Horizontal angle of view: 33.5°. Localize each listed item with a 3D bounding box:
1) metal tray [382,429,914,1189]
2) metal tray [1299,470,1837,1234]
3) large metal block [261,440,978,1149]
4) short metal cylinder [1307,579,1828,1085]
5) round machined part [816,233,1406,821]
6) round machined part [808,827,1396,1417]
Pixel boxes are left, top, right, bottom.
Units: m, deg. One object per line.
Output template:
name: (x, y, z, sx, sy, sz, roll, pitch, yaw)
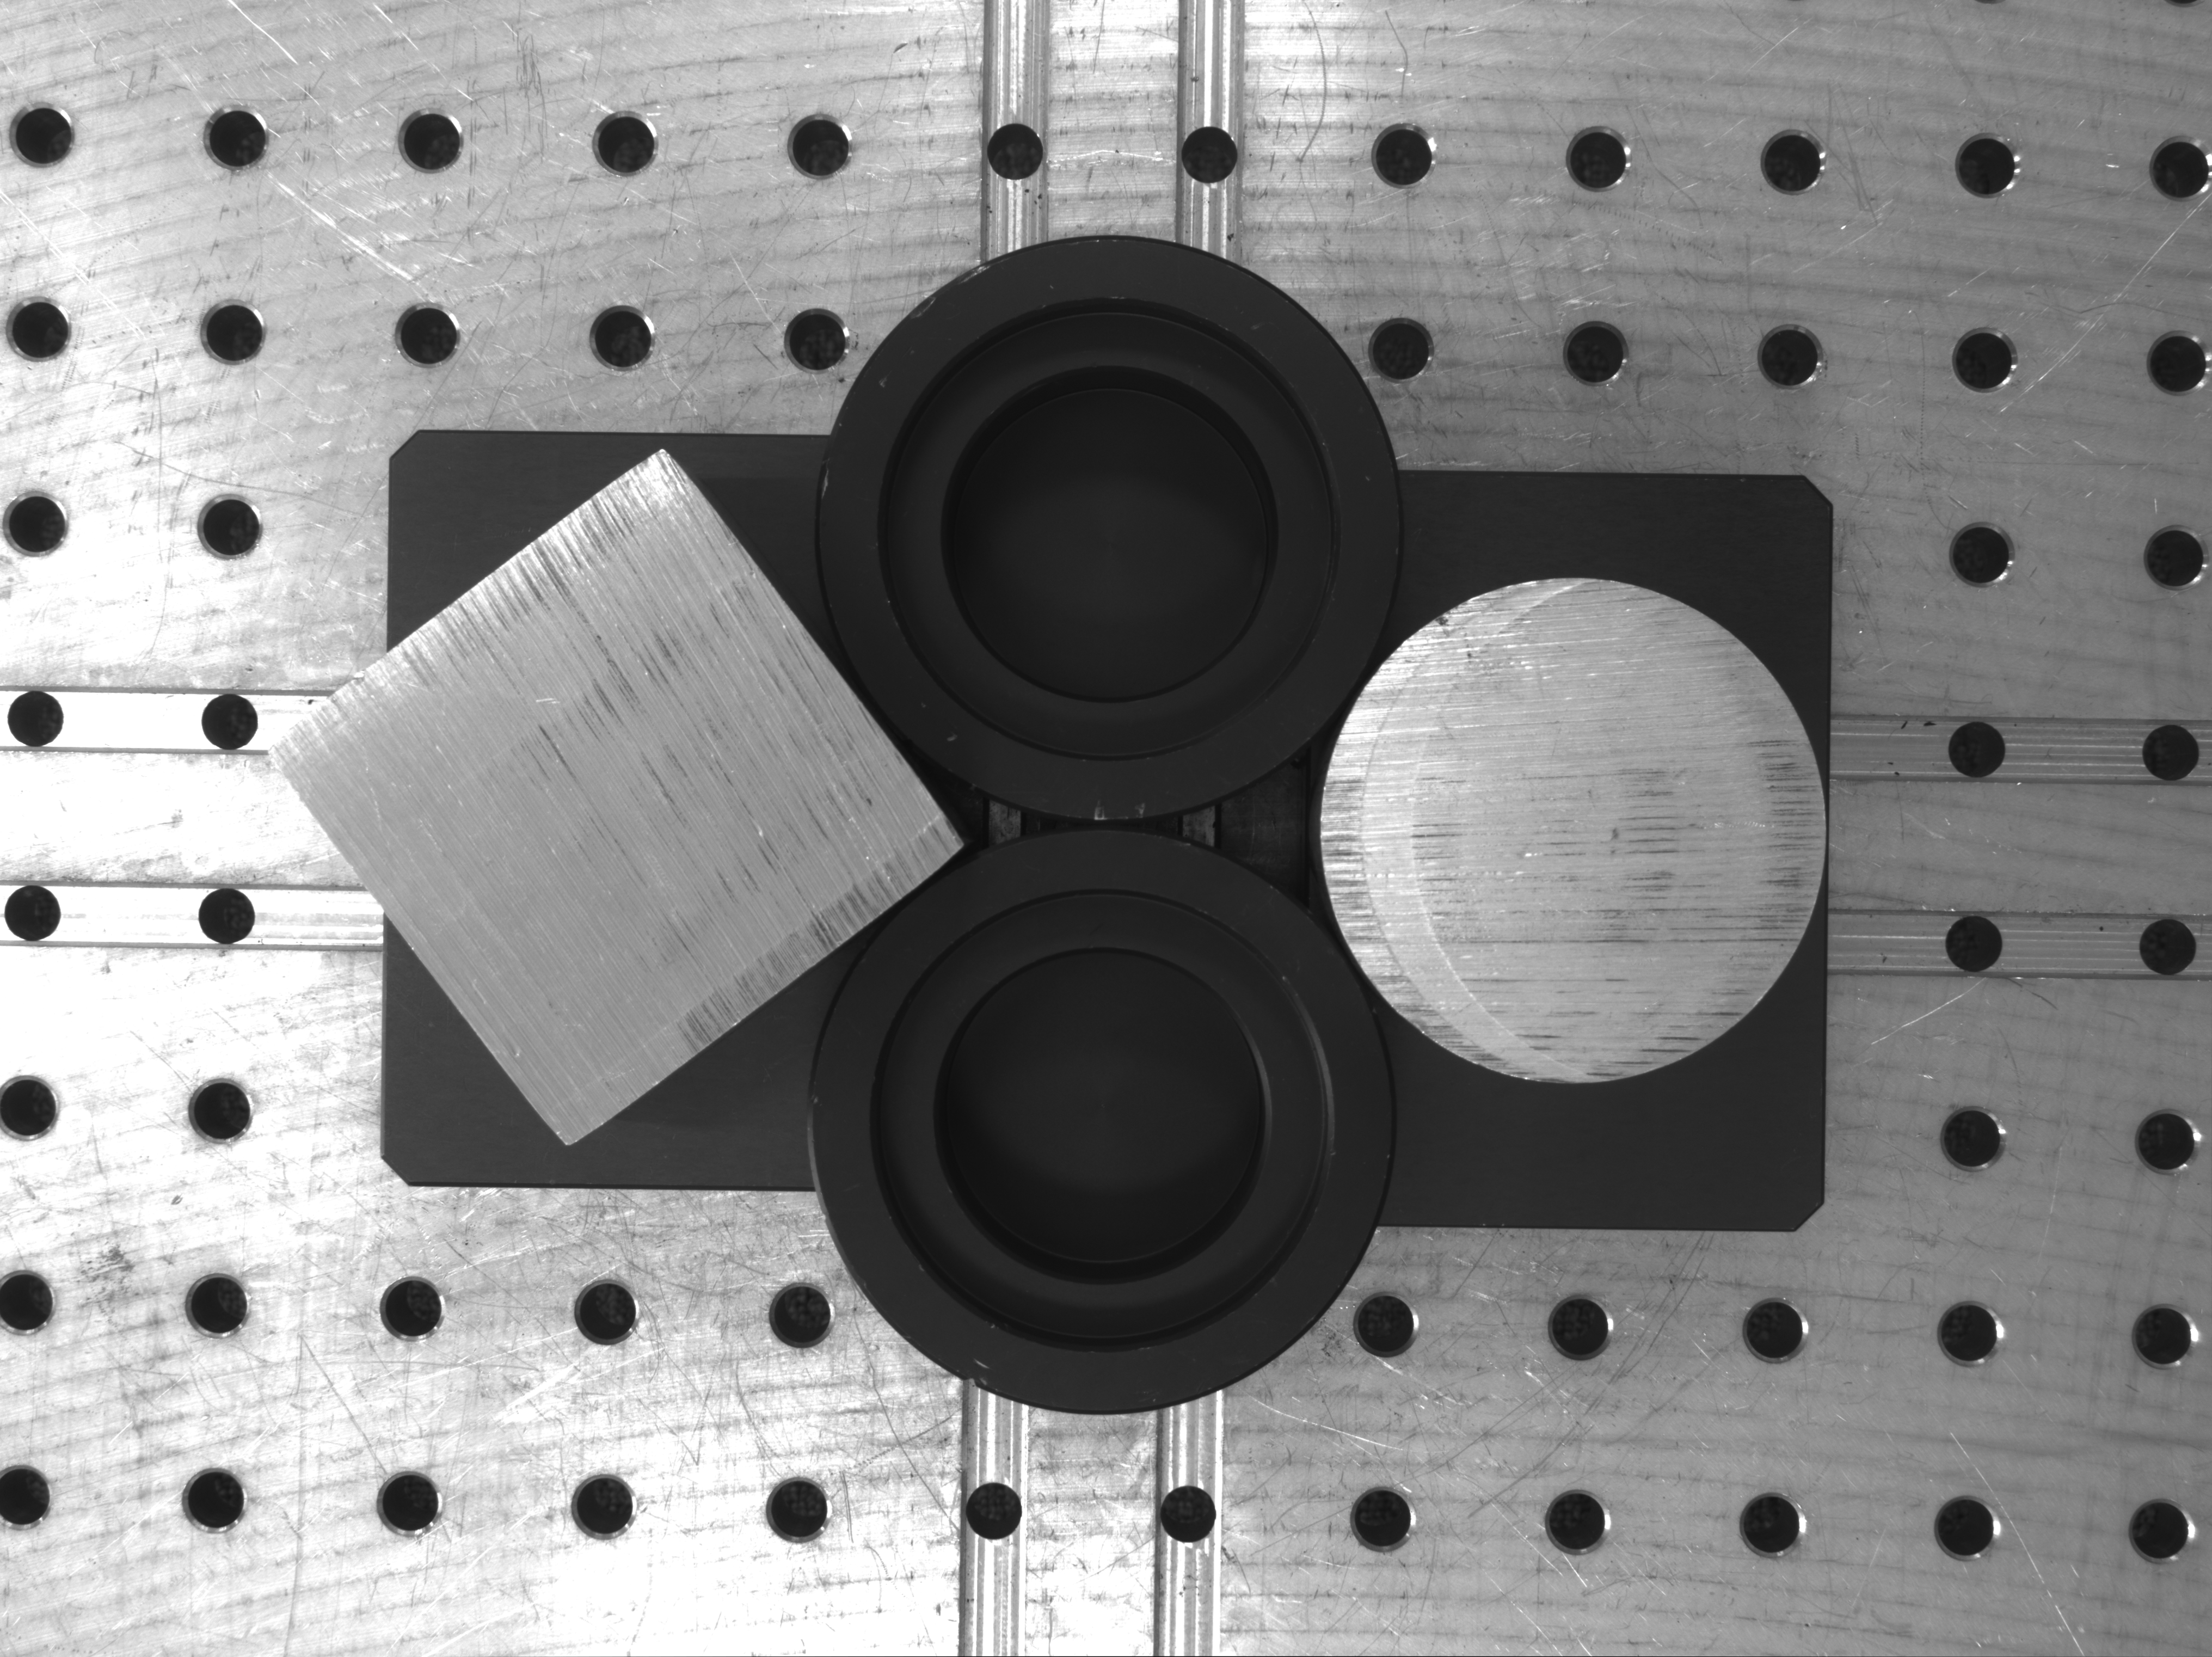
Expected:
metal tray: (-0.079, -0.003, 0.645, 0.090, 0.030, 0.130, 1, 90, -1)
metal tray: (0.080, 0.004, 0.644, 0.090, 0.030, 0.130, 1, 90, 0)
large metal block: (-0.077, -0.005, 0.606, 0.080, 0.050, 0.080, -37, 90, 0)
short metal cylinder: (0.074, 0.001, 0.605, 0.080, 0.050, 0.080, 0, 90, 0)
round machined part: (0.001, -0.050, 0.631, 0.098, 0.042, 0.098, 0, 90, 0)
round machined part: (-0.001, 0.049, 0.631, 0.098, 0.042, 0.098, 0, 90, 0)
